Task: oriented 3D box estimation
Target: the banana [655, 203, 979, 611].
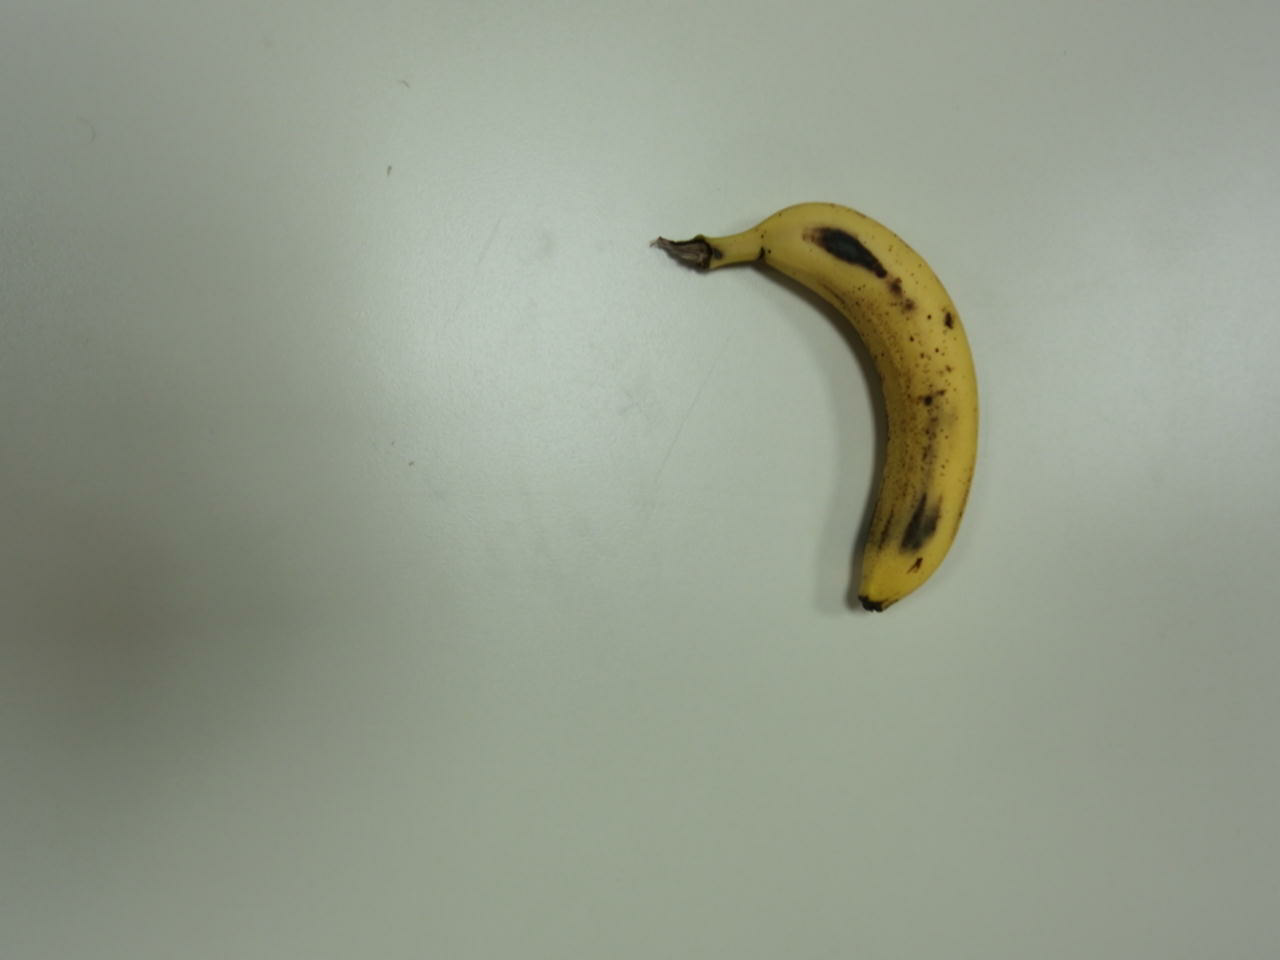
[{"bbox_3d":[0.100,-0.043,0.440,0.097,0.038,0.186,-29,95,-10],"label":"banana"}]
